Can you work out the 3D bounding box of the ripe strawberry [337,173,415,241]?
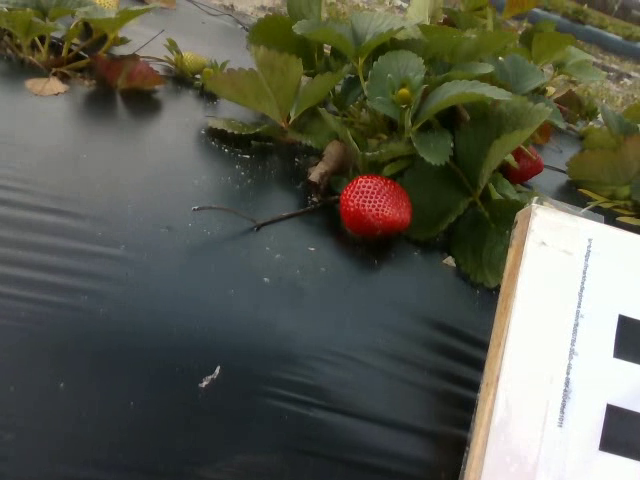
[{"bbox_3d":[0.026,-0.017,0.274,0.037,0.037,0.046,-29,31,-5],"label":"ripe strawberry"}]
